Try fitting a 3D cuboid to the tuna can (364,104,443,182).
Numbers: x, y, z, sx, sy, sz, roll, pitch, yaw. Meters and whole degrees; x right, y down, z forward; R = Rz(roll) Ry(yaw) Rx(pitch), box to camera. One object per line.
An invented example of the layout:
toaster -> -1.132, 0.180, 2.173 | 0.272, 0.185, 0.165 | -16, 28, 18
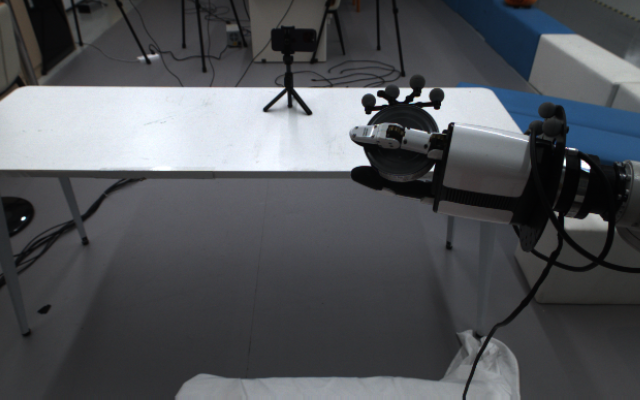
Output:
tuna can -> 0.095, -0.066, 0.560 | 0.085, 0.034, 0.085 | -4, 73, 14
